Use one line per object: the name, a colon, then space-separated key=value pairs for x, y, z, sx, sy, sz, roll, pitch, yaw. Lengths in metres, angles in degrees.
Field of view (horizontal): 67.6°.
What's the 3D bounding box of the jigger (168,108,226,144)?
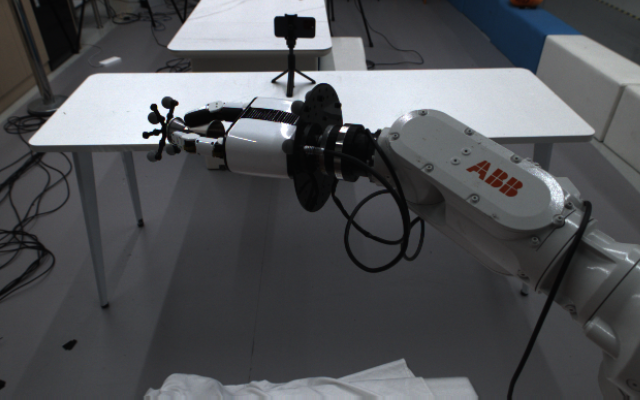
jigger: x=-0.170 y=-0.094 z=0.666 sx=0.071 sy=0.043 sz=0.043 roll=10 pitch=35 yaw=21
